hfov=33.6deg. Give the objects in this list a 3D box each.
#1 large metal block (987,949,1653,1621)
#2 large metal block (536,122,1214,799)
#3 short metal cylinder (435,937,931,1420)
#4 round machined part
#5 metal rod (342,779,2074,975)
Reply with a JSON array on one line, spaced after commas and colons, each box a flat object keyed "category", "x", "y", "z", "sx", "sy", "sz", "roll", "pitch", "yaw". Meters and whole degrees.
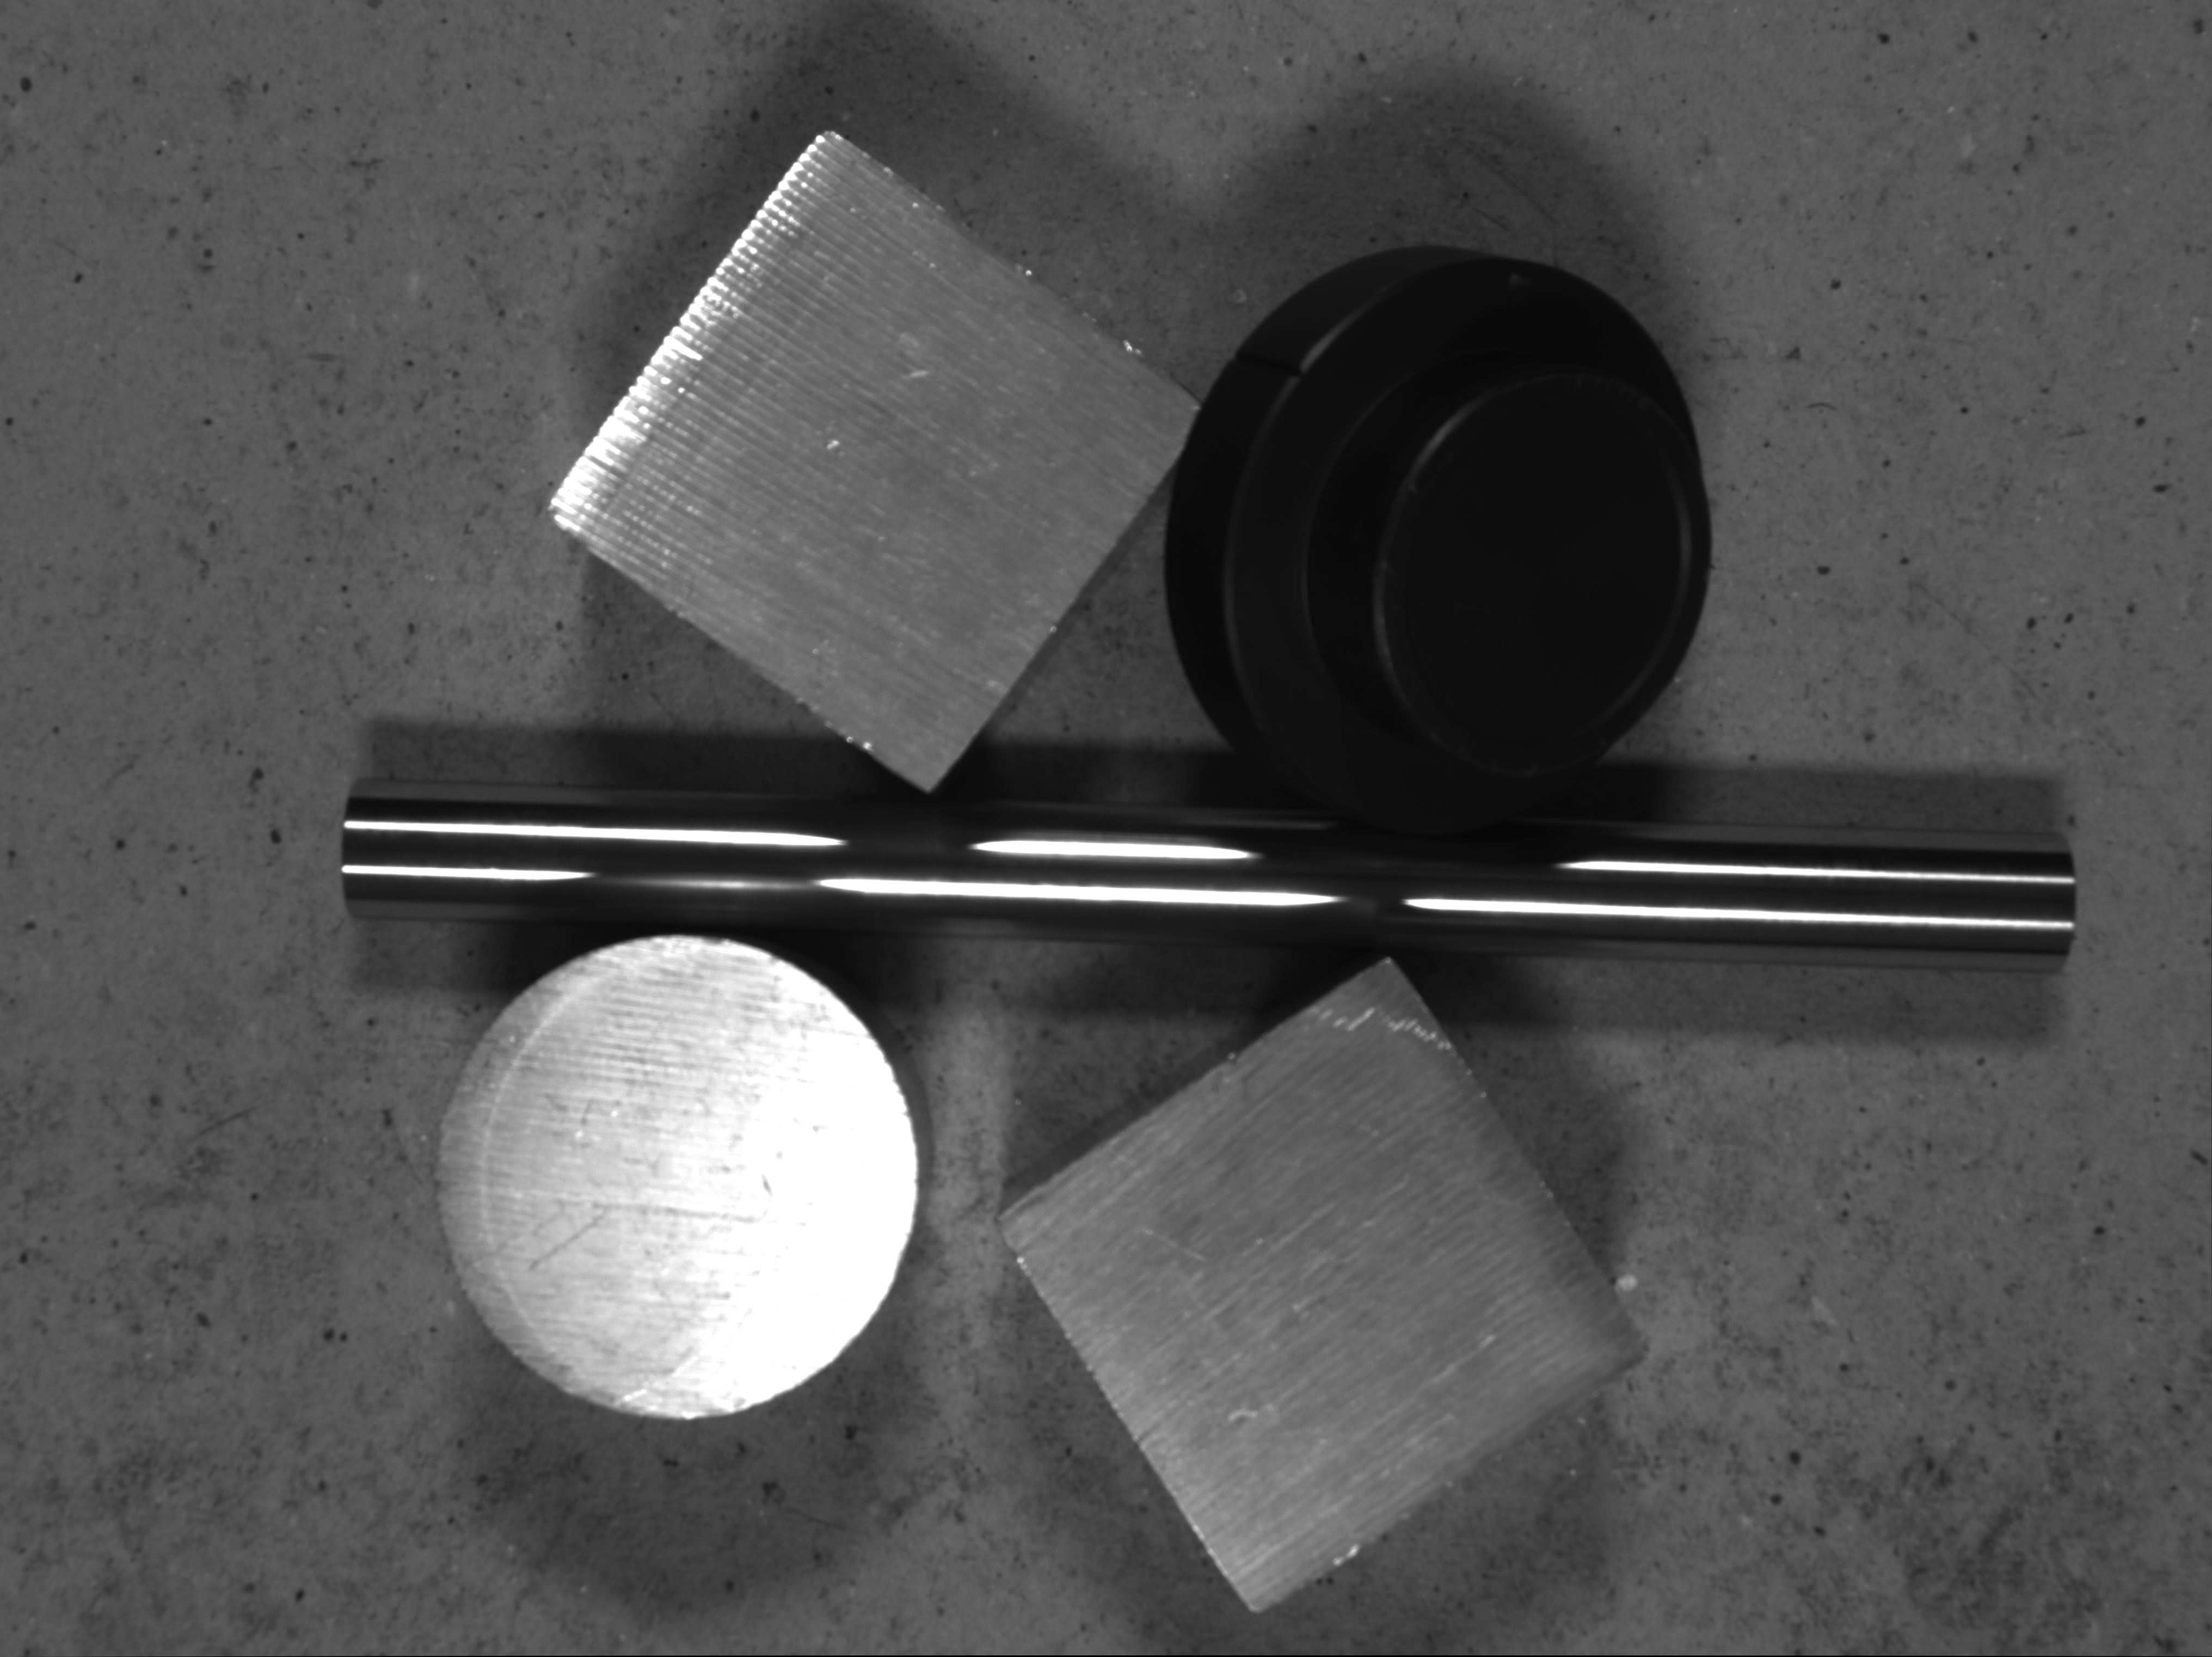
[{"category": "large metal block", "x": 0.036, "y": 0.076, "z": 0.633, "sx": 0.080, "sy": 0.050, "sz": 0.080, "roll": -33, "pitch": 90, "yaw": 0}, {"category": "large metal block", "x": -0.038, "y": -0.061, "z": 0.630, "sx": 0.080, "sy": 0.050, "sz": 0.080, "roll": 37, "pitch": 90, "yaw": 0}, {"category": "short metal cylinder", "x": -0.071, "y": 0.058, "z": 0.632, "sx": 0.080, "sy": 0.050, "sz": 0.080, "roll": 0, "pitch": 90, "yaw": 0}, {"category": "round machined part", "x": 0.061, "y": -0.046, "z": 0.614, "sx": 0.098, "sy": 0.042, "sz": 0.098, "roll": -8, "pitch": 108, "yaw": -26}, {"category": "metal rod", "x": 0.018, "y": 0.009, "z": 0.646, "sx": 0.300, "sy": 0.025, "sz": 0.025, "roll": 2, "pitch": 90, "yaw": -1}]
